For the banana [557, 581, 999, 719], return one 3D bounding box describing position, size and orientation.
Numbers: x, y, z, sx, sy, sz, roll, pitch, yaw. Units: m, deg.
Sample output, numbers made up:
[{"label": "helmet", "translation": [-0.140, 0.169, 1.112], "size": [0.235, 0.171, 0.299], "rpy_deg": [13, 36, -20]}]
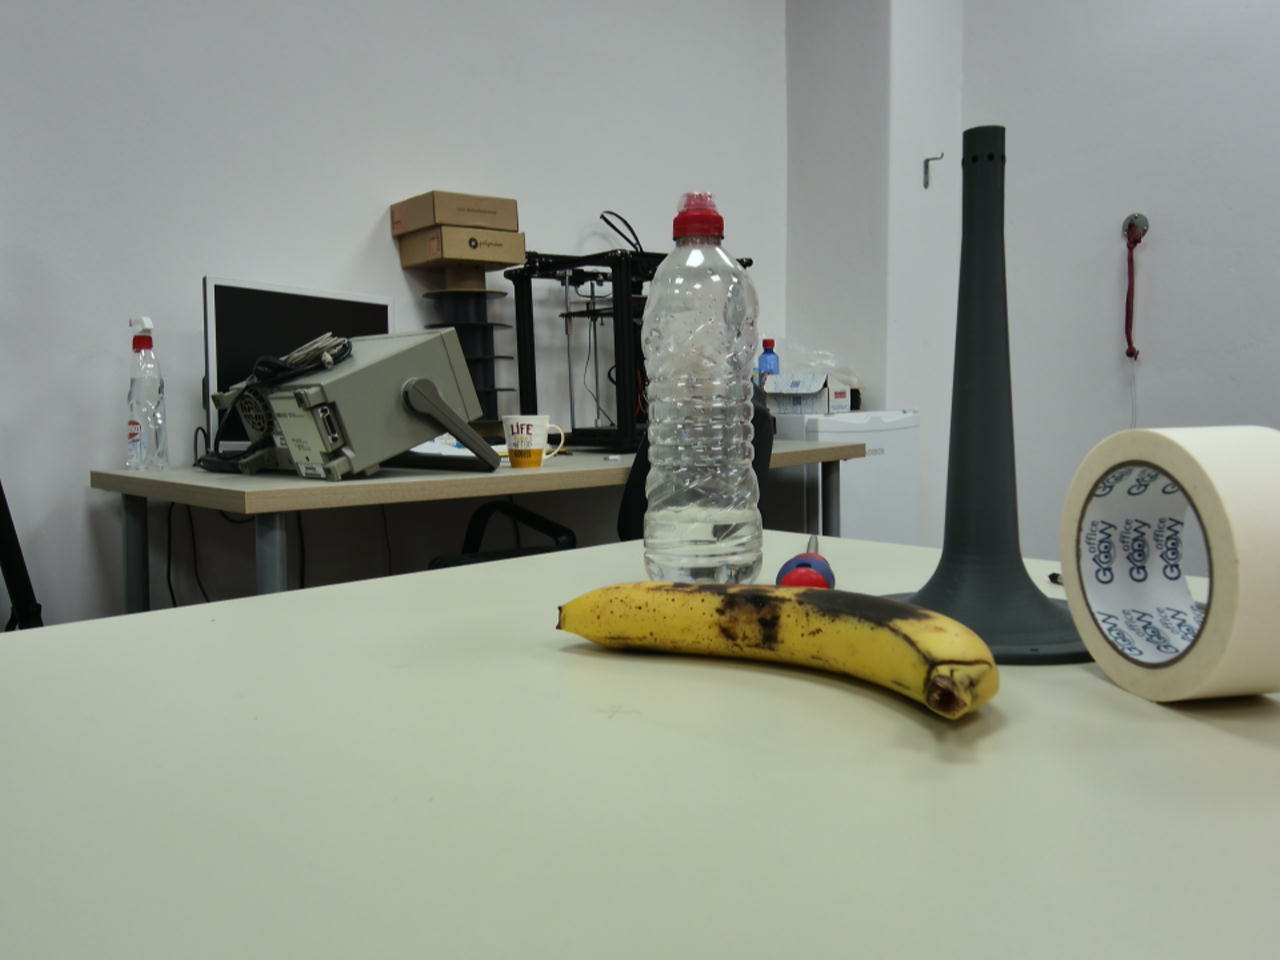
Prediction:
[{"label": "banana", "translation": [0.061, 0.068, 0.441], "size": [0.084, 0.037, 0.222], "rpy_deg": [-2, 4, -40]}]
